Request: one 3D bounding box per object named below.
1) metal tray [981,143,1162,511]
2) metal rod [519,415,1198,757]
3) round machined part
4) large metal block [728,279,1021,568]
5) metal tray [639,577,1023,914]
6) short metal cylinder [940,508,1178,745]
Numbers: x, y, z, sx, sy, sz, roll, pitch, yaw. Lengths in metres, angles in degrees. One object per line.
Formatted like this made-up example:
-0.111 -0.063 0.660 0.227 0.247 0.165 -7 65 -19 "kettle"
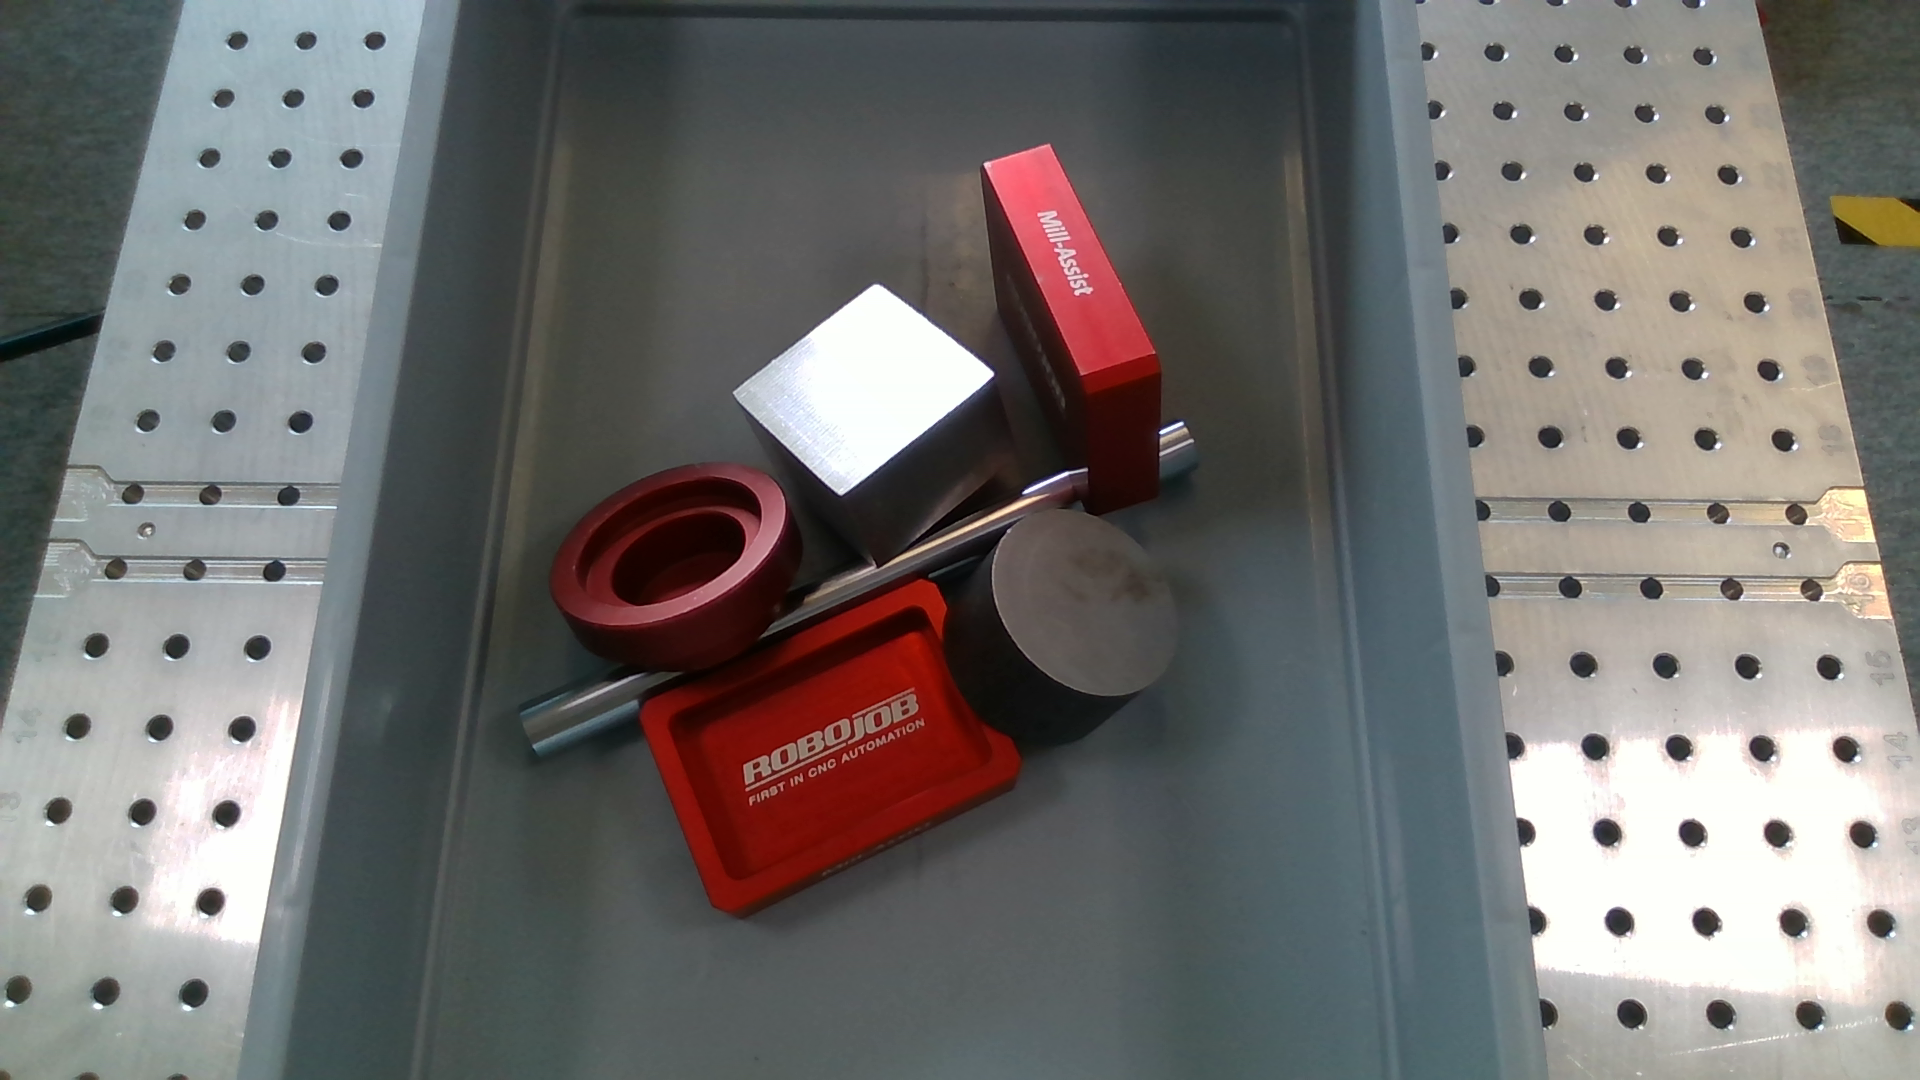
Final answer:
0.045 -0.087 0.568 0.030 0.090 0.130 -17 57 -4 "metal tray"
-0.038 0.017 0.581 0.300 0.025 0.025 -24 72 -8 "metal rod"
-0.111 0.014 0.558 0.098 0.042 0.098 -10 40 9 "round machined part"
-0.035 -0.049 0.572 0.080 0.050 0.080 -40 57 -13 "large metal block"
-0.051 0.082 0.555 0.130 0.030 0.090 -24 72 -8 "metal tray"
0.039 0.035 0.546 0.080 0.050 0.080 13 56 -20 "short metal cylinder"
